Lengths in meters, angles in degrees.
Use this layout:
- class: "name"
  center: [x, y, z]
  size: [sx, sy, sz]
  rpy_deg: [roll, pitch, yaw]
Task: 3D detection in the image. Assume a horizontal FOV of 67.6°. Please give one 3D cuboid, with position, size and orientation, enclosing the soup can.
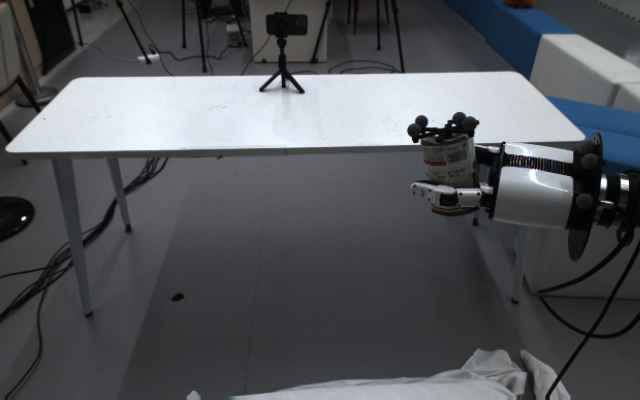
- class: "soup can"
  center: [0.175, -0.038, 0.636]
  size: [0.067, 0.101, 0.067]
  rpy_deg: [-13, 20, 5]
